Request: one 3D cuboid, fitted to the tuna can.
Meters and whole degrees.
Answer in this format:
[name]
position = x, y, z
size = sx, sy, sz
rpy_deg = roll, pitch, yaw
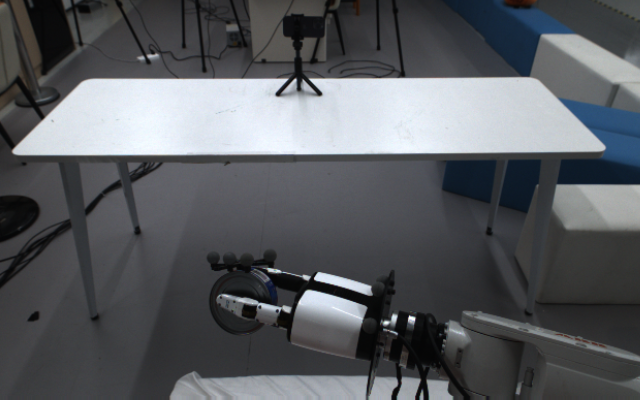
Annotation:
[tuna can]
position = -0.099, 0.138, 0.640
size = 0.085, 0.085, 0.034
rpy_deg = 10, 3, 11
